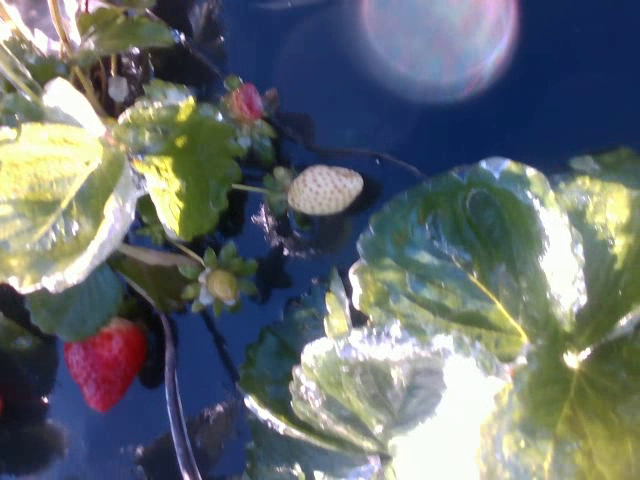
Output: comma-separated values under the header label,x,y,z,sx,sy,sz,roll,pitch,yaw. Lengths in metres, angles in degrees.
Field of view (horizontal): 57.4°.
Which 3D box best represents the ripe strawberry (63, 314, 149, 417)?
label,x,y,z,sx,sy,sz,roll,pitch,yaw
ripe strawberry,-0.091,0.055,0.245,0.039,0.047,0.040,-8,-2,5
